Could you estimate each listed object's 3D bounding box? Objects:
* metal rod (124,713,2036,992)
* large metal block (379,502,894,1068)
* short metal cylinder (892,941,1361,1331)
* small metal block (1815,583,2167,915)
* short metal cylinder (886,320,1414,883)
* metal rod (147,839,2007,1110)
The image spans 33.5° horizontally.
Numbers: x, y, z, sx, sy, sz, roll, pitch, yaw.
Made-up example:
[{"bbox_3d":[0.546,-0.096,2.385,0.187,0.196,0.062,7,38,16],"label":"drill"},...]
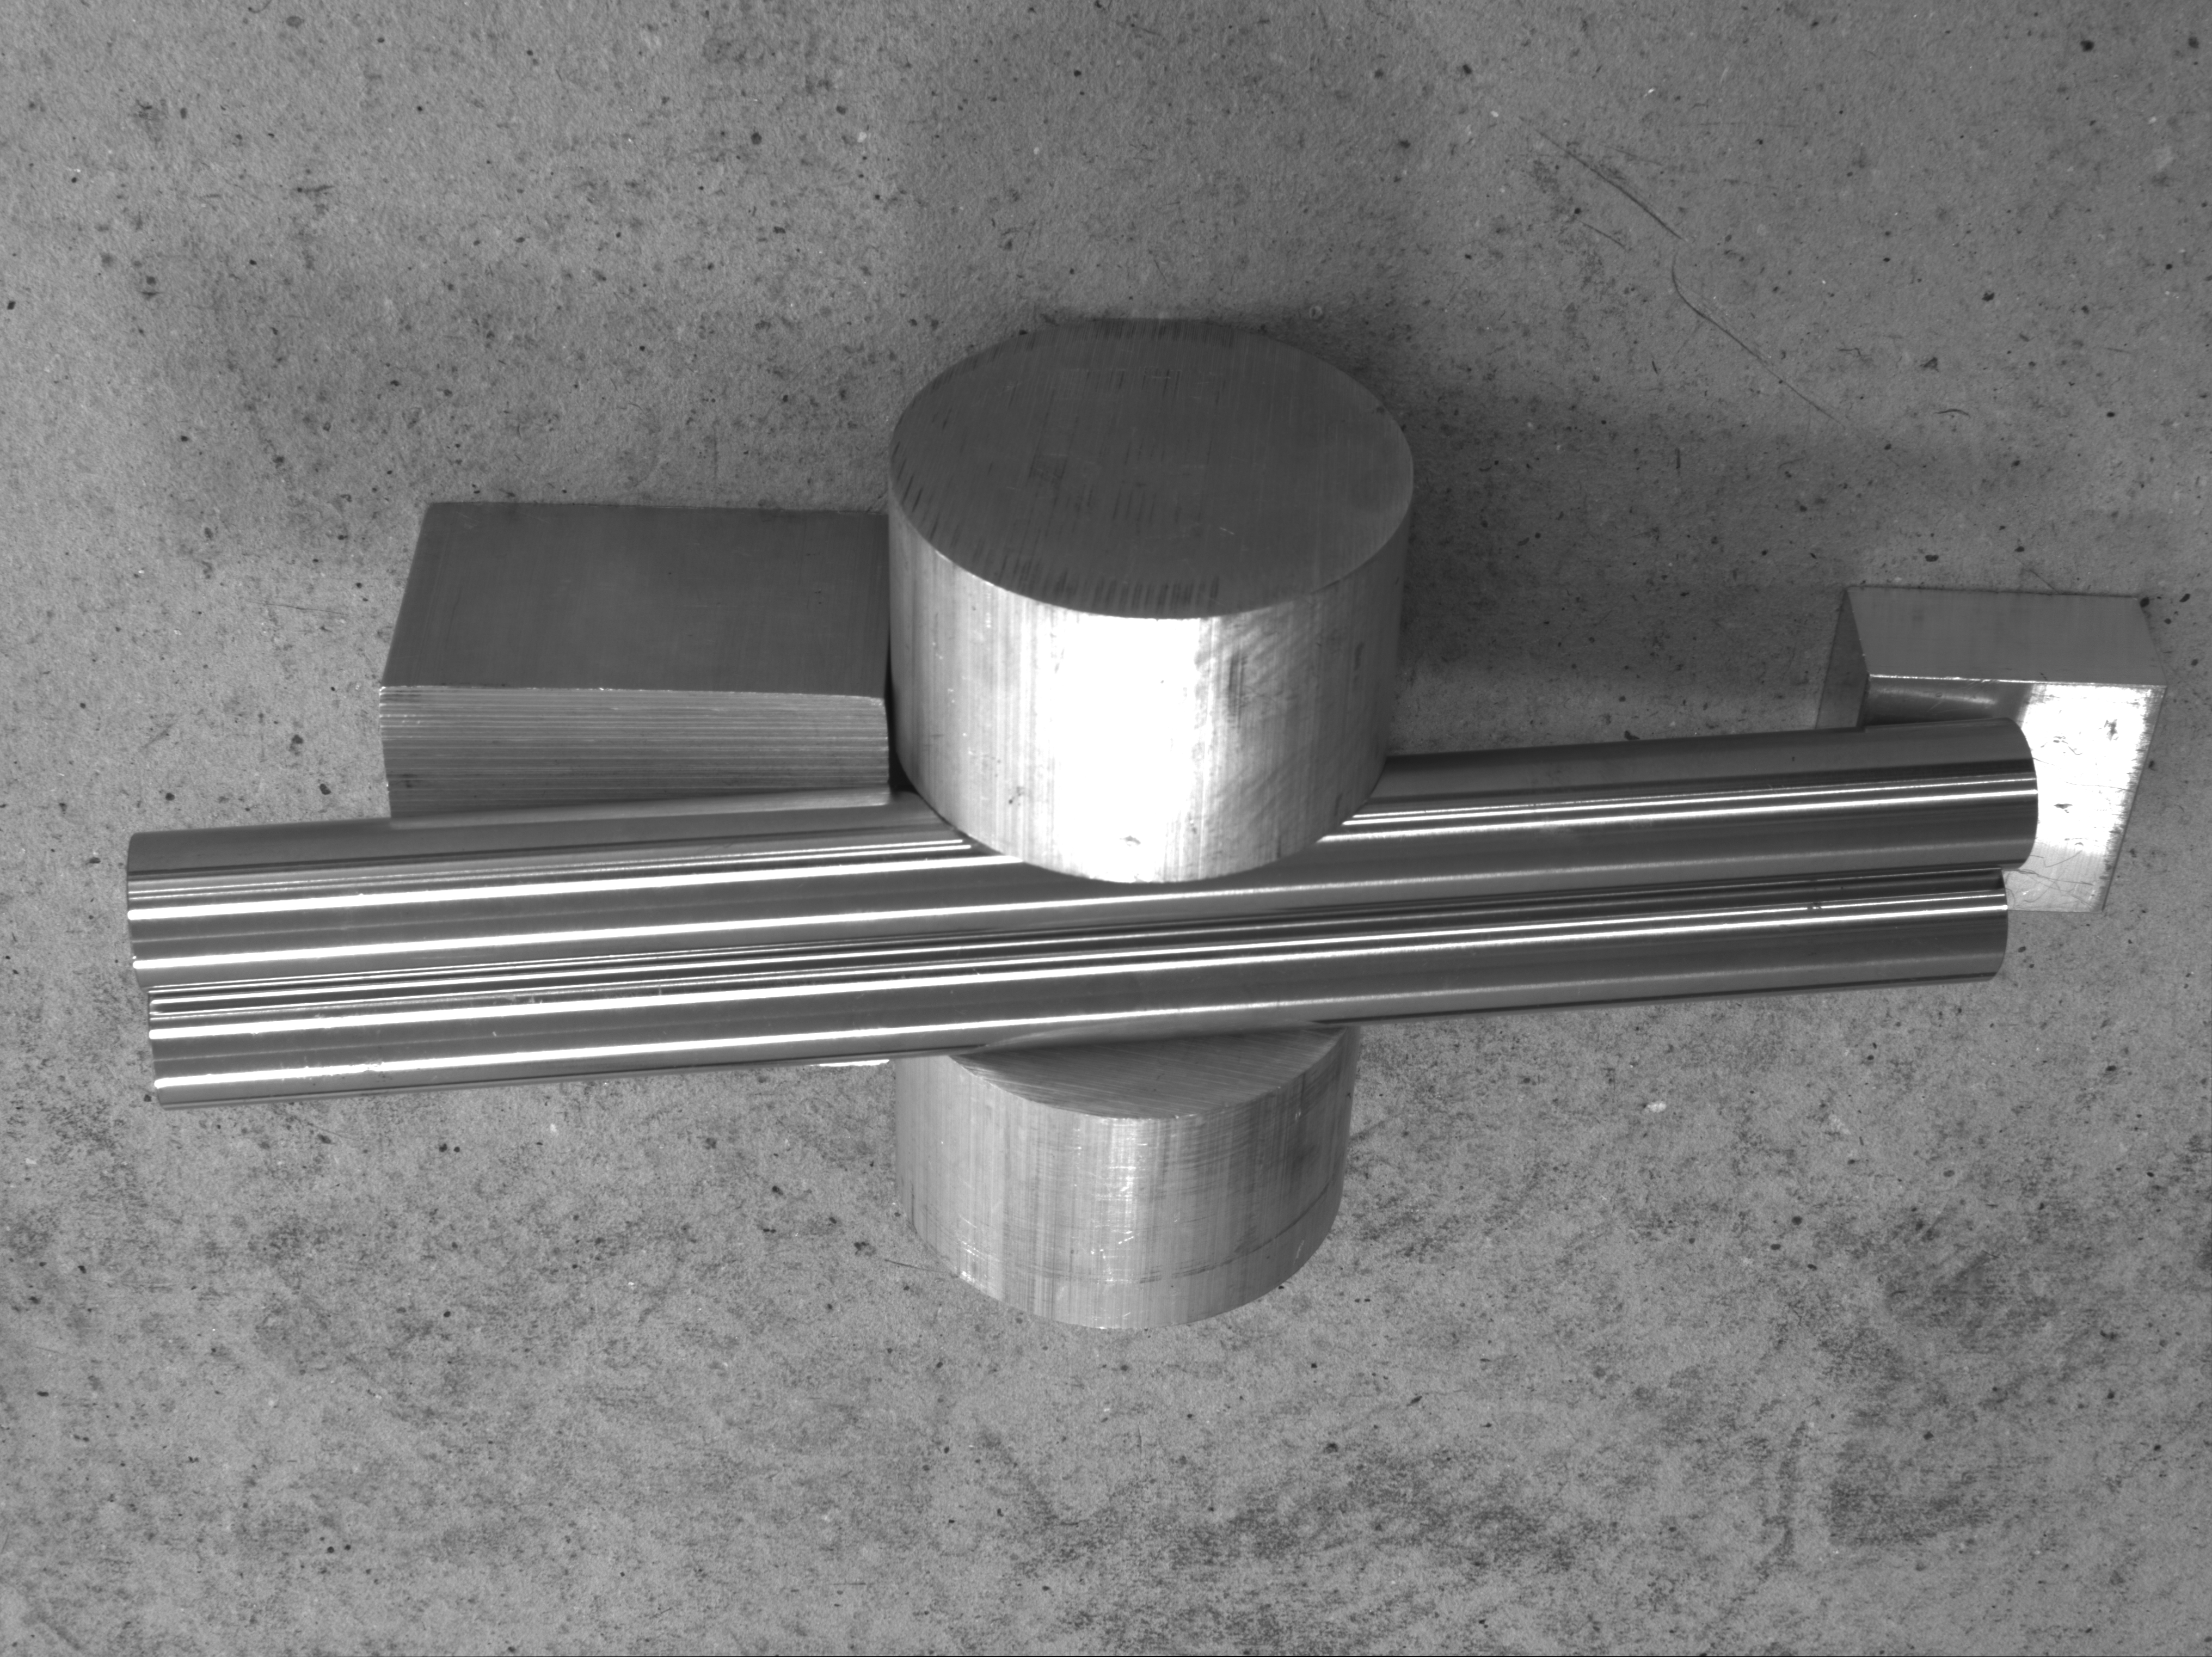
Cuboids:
[{"bbox_3d":[-0.001,0.003,0.584,0.300,0.025,0.025,-4,130,-7],"label":"metal rod"},{"bbox_3d":[-0.074,-0.007,0.618,0.080,0.050,0.080,1,130,-1],"label":"large metal block"},{"bbox_3d":[0.003,0.040,0.638,0.080,0.080,0.050,1,130,-1],"label":"short metal cylinder"},{"bbox_3d":[0.149,-0.013,0.629,0.050,0.025,0.050,2,130,-2],"label":"small metal block"},{"bbox_3d":[0.006,-0.037,0.573,0.080,0.080,0.050,1,130,-1],"label":"short metal cylinder"},{"bbox_3d":[-0.001,0.022,0.600,0.300,0.025,0.025,-4,130,-7],"label":"metal rod"}]
